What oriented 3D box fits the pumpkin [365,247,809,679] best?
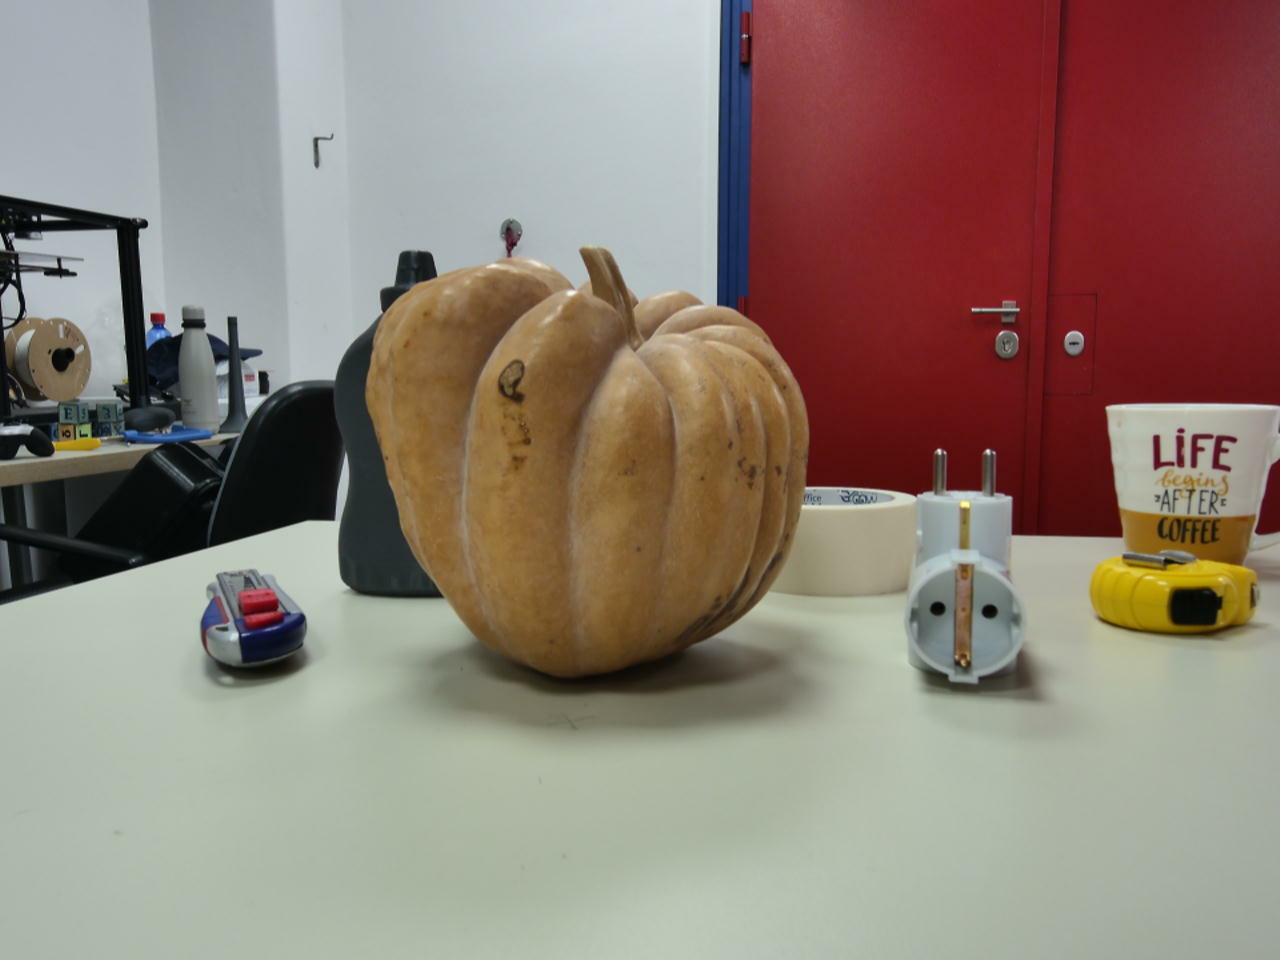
[{"bbox_3d":[-0.023,-0.010,0.433,0.199,0.177,0.198,0,4,0],"label":"pumpkin"}]
